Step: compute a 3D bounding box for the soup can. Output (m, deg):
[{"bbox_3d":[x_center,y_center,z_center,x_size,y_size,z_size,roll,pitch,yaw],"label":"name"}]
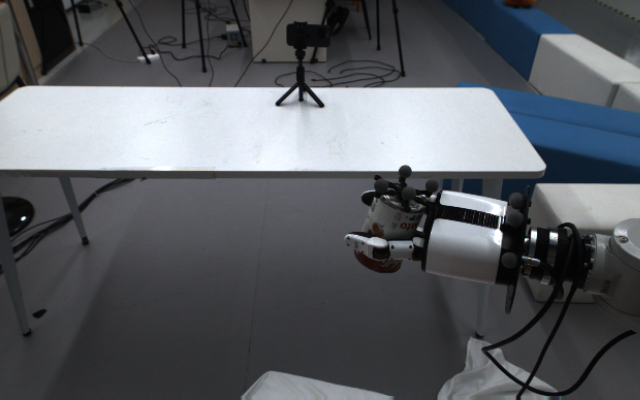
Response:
[{"bbox_3d":[0.093,0.036,0.636,0.067,0.101,0.067,13,30,-8],"label":"soup can"}]
